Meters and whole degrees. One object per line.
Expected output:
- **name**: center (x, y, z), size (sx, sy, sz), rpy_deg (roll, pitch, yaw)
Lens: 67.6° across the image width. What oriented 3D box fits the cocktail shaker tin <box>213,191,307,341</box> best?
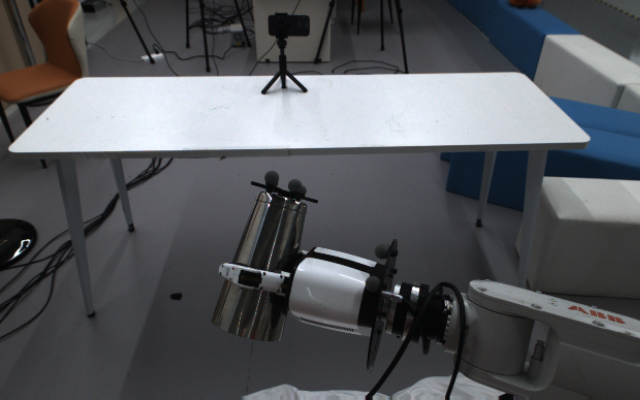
- **cocktail shaker tin**: center (-0.069, 0.081, 0.613), size (0.093, 0.170, 0.093), rpy_deg (15, -4, 1)
